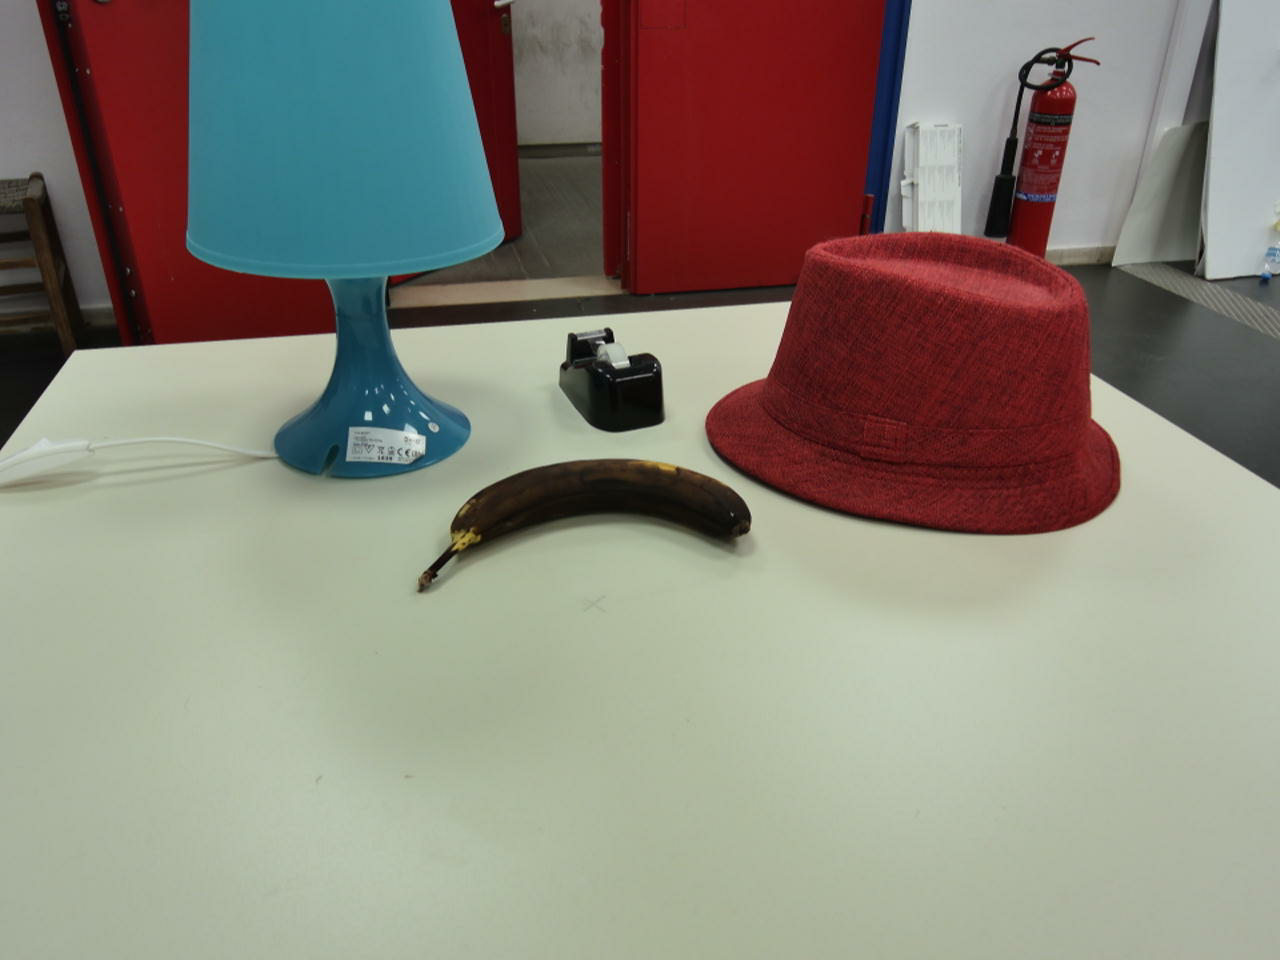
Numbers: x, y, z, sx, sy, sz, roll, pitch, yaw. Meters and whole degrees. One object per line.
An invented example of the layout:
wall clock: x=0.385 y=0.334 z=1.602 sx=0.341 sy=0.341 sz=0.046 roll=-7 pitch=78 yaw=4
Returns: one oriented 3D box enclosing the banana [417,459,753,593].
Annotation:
banana: x=-0.033 y=0.016 z=0.580 sx=0.188 sy=0.034 sz=0.091 roll=-5 pitch=27 yaw=-10
